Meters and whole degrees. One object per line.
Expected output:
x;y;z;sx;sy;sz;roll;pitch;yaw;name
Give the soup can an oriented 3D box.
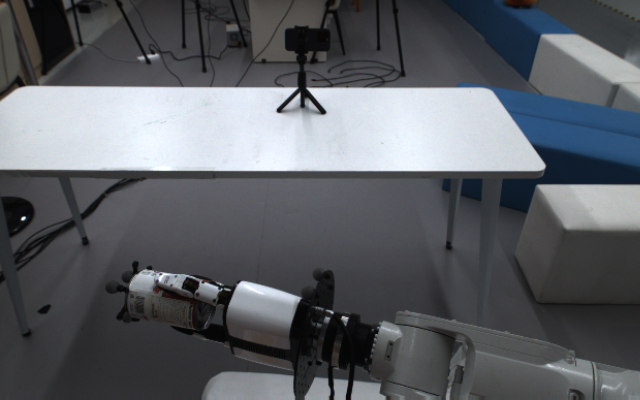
-0.195;0.135;0.646;0.101;0.067;0.067;8;35;10;soup can
